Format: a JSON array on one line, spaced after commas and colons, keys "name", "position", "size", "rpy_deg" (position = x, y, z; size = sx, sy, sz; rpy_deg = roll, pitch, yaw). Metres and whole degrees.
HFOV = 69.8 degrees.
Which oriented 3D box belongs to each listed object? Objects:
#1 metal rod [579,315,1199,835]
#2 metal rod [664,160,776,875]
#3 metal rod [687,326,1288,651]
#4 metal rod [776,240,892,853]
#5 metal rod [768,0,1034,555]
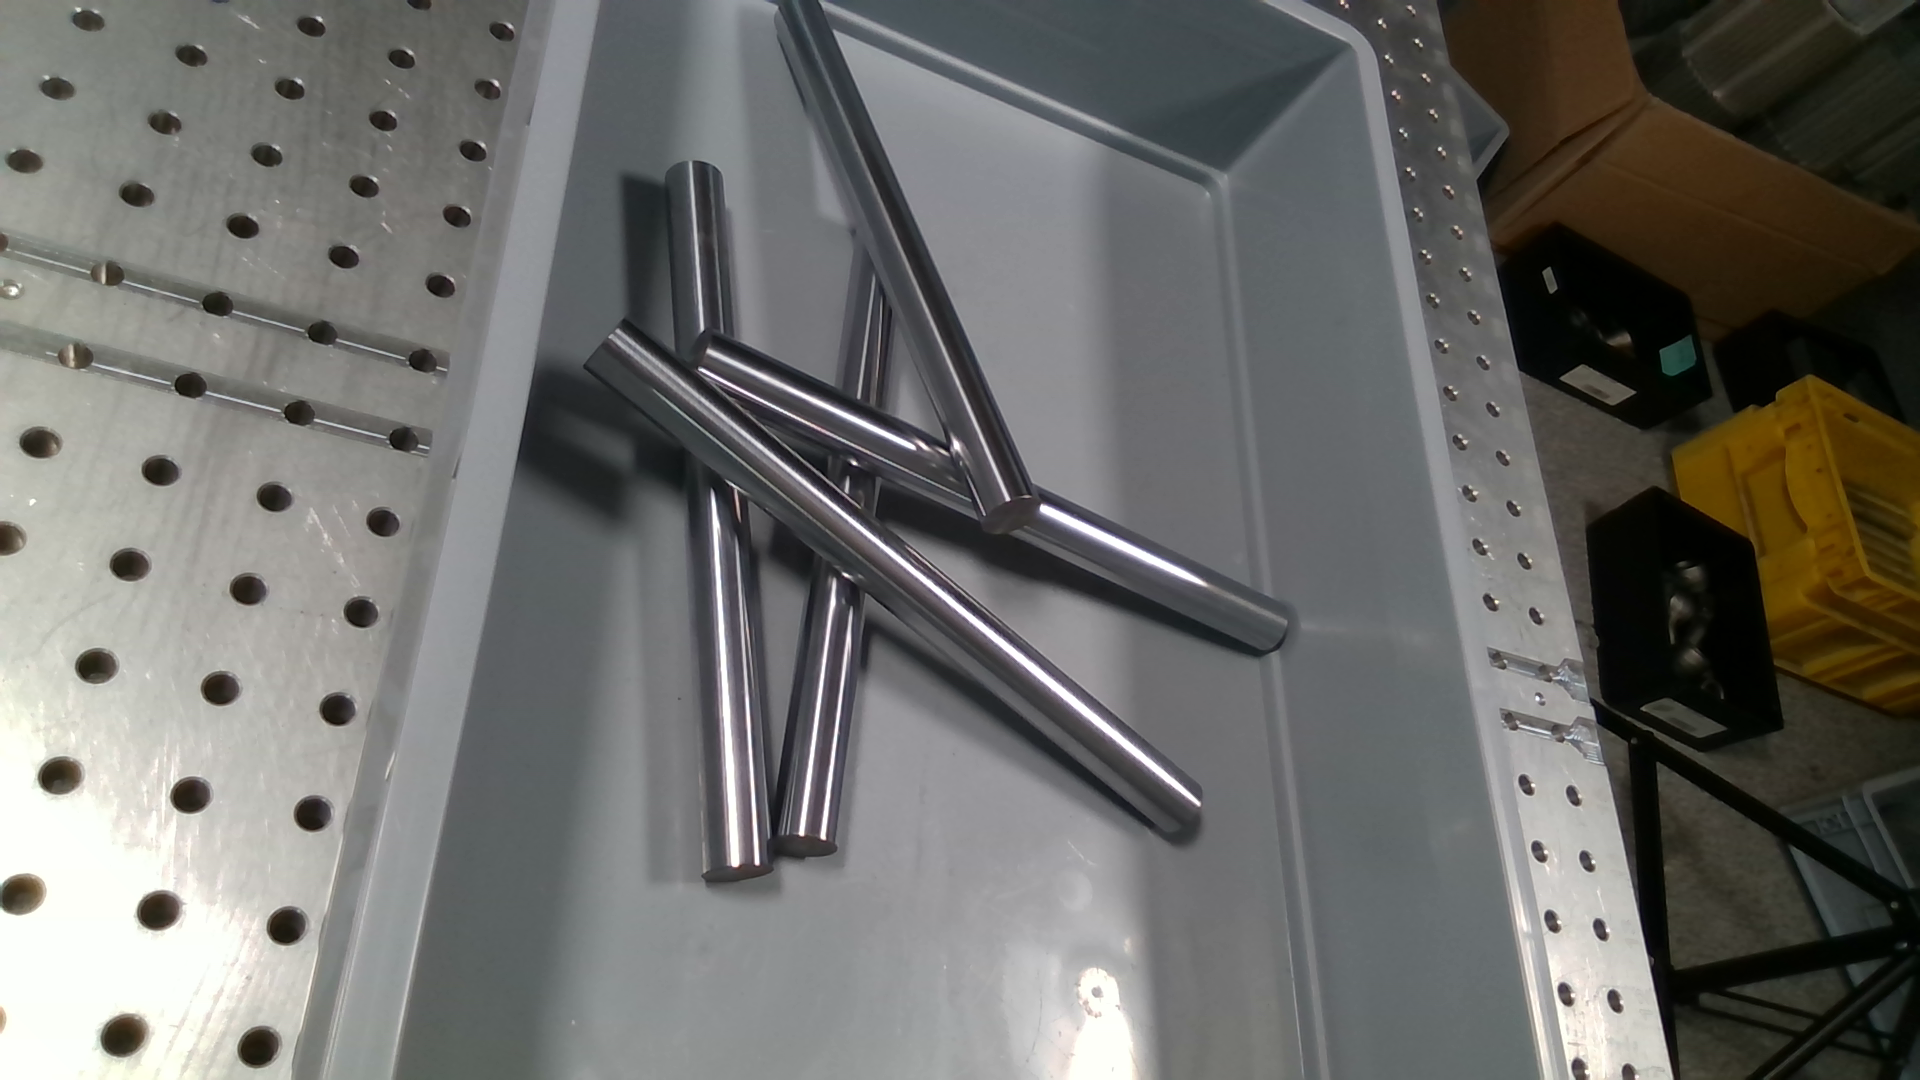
[{"name": "metal rod", "position": [-0.019, 0.021, 0.536], "size": [0.300, 0.025, 0.025], "rpy_deg": [40, 51, -17]}, {"name": "metal rod", "position": [-0.096, -0.021, 0.537], "size": [0.025, 0.025, 0.299], "rpy_deg": [6, 62, -29]}, {"name": "metal rod", "position": [0.024, -0.014, 0.585], "size": [0.300, 0.025, 0.025], "rpy_deg": [24, 55, -27]}, {"name": "metal rod", "position": [-0.046, -0.020, 0.567], "size": [0.025, 0.025, 0.299], "rpy_deg": [18, 57, -22]}, {"name": "metal rod", "position": [-0.031, -0.129, 0.603], "size": [0.025, 0.025, 0.299], "rpy_deg": [-5, 62, -33]}]
